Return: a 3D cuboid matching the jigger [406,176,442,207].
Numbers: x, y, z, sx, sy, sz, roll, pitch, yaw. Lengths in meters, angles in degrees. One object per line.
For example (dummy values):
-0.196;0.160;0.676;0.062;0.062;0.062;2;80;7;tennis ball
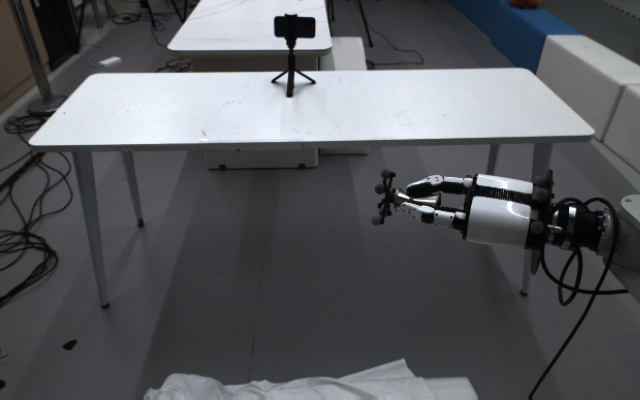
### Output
0.164;0.001;0.783;0.071;0.043;0.043;10;35;22;jigger
